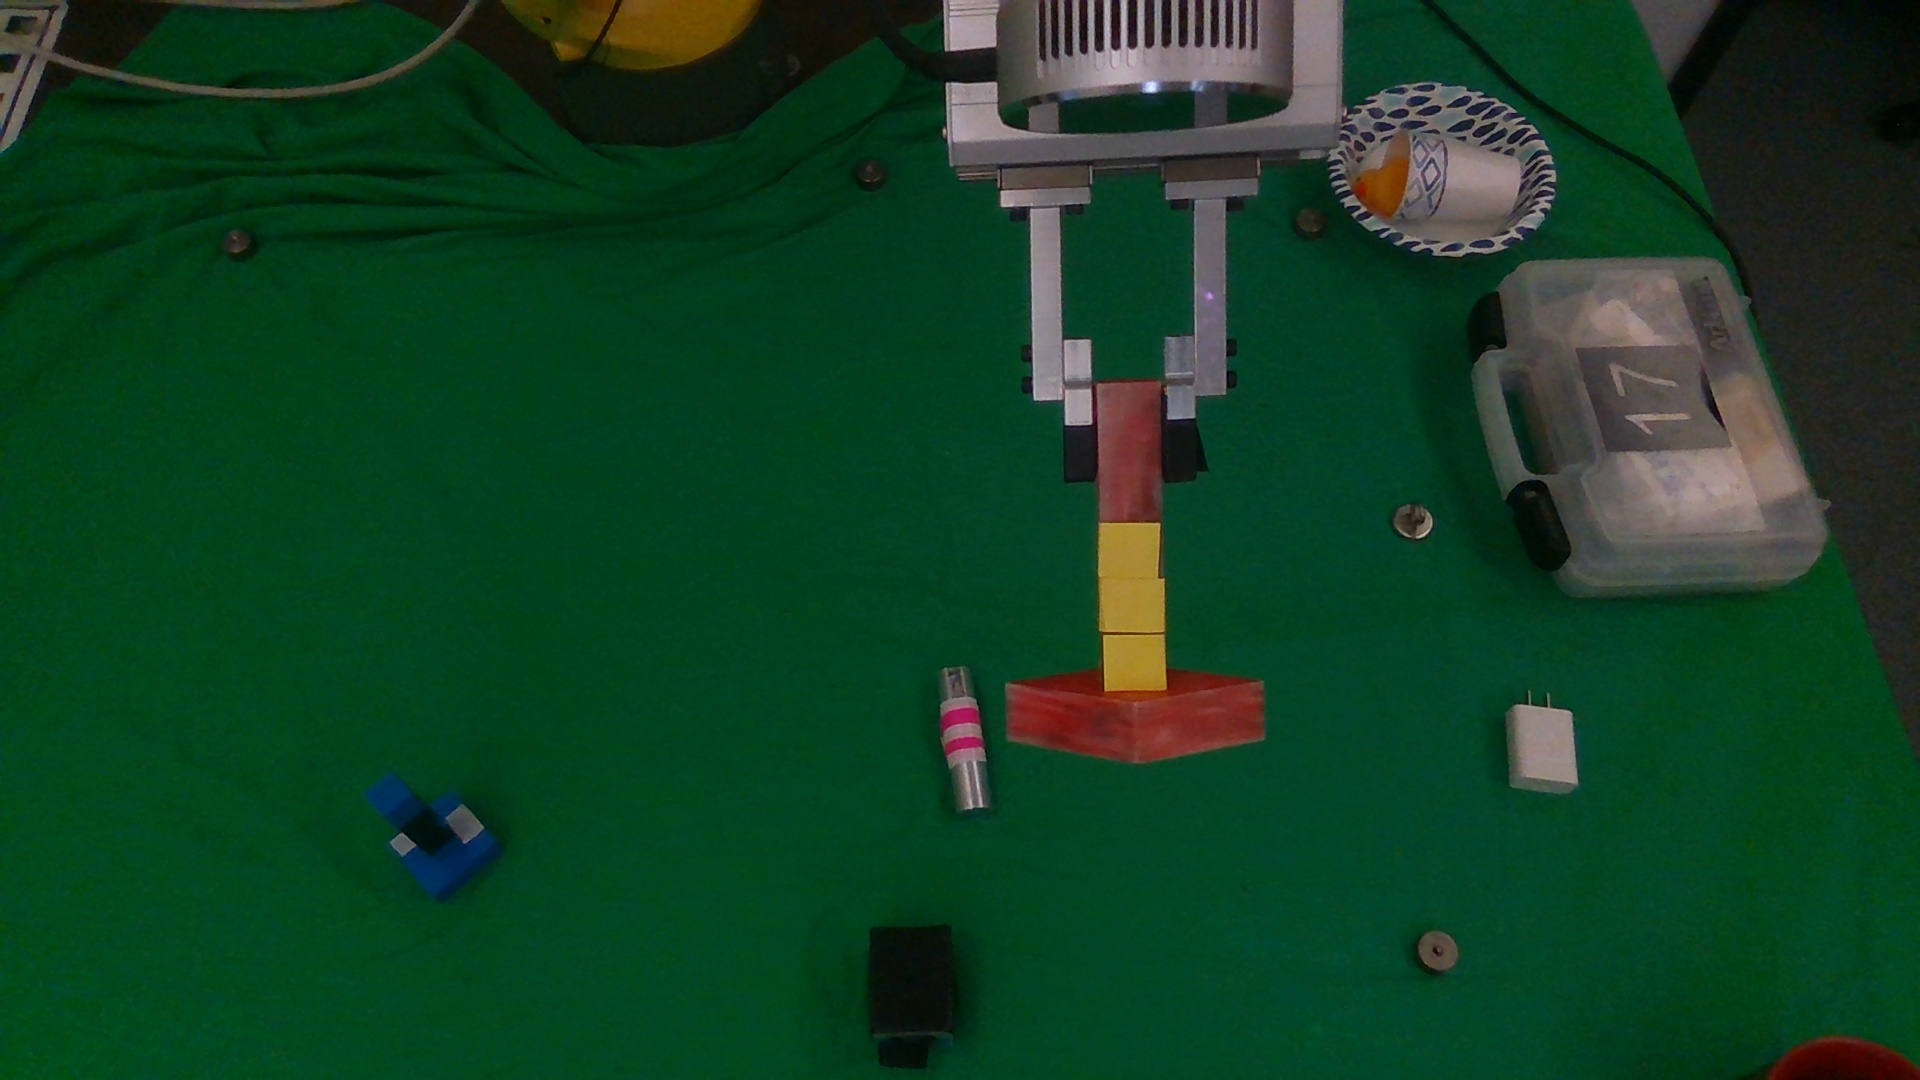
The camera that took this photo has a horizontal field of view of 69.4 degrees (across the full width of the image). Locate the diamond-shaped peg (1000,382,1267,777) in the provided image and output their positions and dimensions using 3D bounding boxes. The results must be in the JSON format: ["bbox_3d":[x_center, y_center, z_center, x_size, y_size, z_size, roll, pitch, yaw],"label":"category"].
[{"bbox_3d":[0.053,0.011,0.440,0.074,0.045,0.122,-5,97,-20],"label":"diamond-shaped peg"}]

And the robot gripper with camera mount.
[{"bbox_3d":[0.047,-0.081,0.348,0.119,0.193,0.158,-2,100,2],"label":"robot gripper with camera mount"}]
